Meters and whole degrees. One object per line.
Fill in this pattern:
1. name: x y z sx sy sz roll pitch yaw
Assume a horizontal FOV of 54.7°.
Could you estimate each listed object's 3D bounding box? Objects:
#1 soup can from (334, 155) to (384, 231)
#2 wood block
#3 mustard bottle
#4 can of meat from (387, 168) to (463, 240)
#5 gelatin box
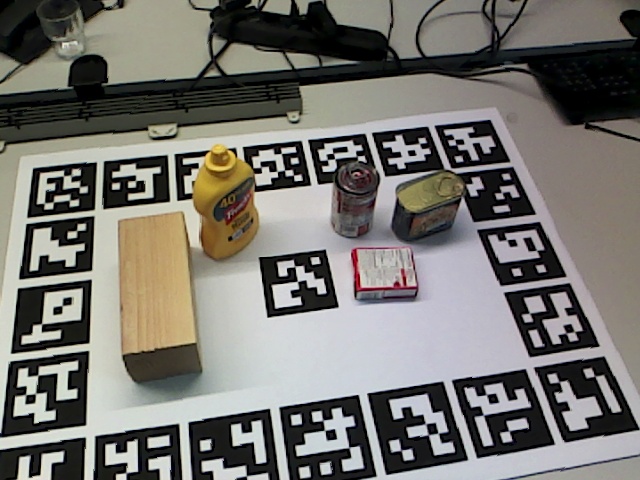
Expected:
1. soup can: 0.057 -0.068 0.924 0.068 0.102 0.068 0 56 -1
2. wood block: -0.210 0.071 0.836 0.091 0.089 0.207 -6 51 -8
3. mustard bottle: -0.132 -0.054 0.871 0.096 0.191 0.059 -30 60 -23
4. can of meat: 0.156 -0.052 0.938 0.101 0.083 0.058 -19 58 -17
5. gelatin box: 0.098 0.046 0.892 0.089 0.030 0.073 -1 56 1
